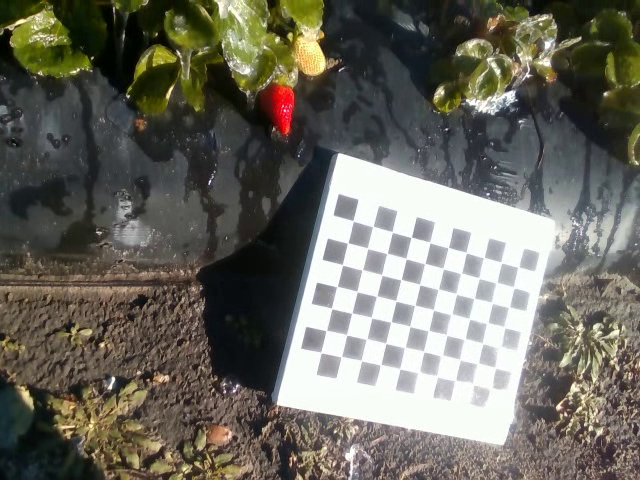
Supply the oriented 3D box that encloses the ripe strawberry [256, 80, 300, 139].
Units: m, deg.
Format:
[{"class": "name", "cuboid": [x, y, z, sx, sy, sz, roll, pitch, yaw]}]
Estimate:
[{"class": "ripe strawberry", "cuboid": [-0.036, -0.132, 0.619, 0.042, 0.052, 0.040, -4, -5, -20]}]
